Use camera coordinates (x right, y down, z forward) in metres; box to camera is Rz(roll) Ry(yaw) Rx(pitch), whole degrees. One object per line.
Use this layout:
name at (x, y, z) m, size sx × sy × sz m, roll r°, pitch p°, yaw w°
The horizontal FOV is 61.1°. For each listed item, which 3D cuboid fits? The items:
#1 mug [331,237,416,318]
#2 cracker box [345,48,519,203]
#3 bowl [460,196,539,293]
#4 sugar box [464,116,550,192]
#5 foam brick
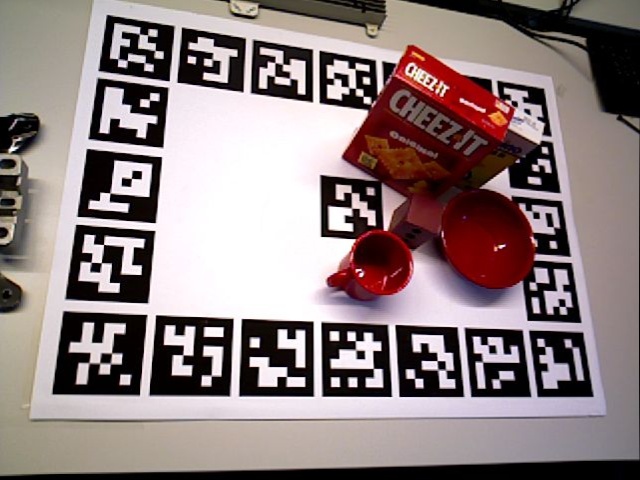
mug at (0.071, 0.057, 0.740) m, size 0.116 × 0.083 × 0.092 m, roll -4°, pitch 64°, yaw -15°
cracker box at (0.149, -0.142, 0.760) m, size 0.164 × 0.218 × 0.071 m, roll 33°, pitch 63°, yaw -4°
bowl at (0.264, 0.018, 0.814) m, size 0.160 × 0.056 × 0.160 m, roll 5°, pitch 72°, yaw -14°
sugar box at (0.250, -0.139, 0.806) m, size 0.092 × 0.180 × 0.044 m, roll 25°, pitch 65°, yaw -6°
foam brick at (0.146, -0.021, 0.798) m, size 0.052 × 0.079 × 0.051 m, roll 19°, pitch 66°, yaw -8°
